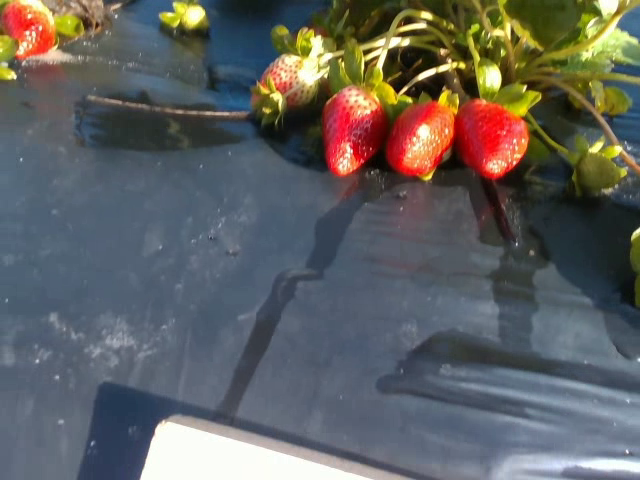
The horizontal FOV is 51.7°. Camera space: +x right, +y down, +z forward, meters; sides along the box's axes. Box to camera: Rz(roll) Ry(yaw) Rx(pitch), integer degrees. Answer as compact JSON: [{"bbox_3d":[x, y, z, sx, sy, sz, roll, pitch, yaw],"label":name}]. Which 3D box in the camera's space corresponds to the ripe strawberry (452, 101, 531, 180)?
[{"bbox_3d":[0.068,-0.036,0.265,0.035,0.034,0.041,8,27,9],"label":"ripe strawberry"}]

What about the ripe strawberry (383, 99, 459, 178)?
[{"bbox_3d":[0.040,-0.043,0.266,0.031,0.037,0.039,22,16,12],"label":"ripe strawberry"}]

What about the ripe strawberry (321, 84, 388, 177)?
[{"bbox_3d":[0.013,-0.047,0.277,0.032,0.046,0.023,12,-26,10],"label":"ripe strawberry"}]
